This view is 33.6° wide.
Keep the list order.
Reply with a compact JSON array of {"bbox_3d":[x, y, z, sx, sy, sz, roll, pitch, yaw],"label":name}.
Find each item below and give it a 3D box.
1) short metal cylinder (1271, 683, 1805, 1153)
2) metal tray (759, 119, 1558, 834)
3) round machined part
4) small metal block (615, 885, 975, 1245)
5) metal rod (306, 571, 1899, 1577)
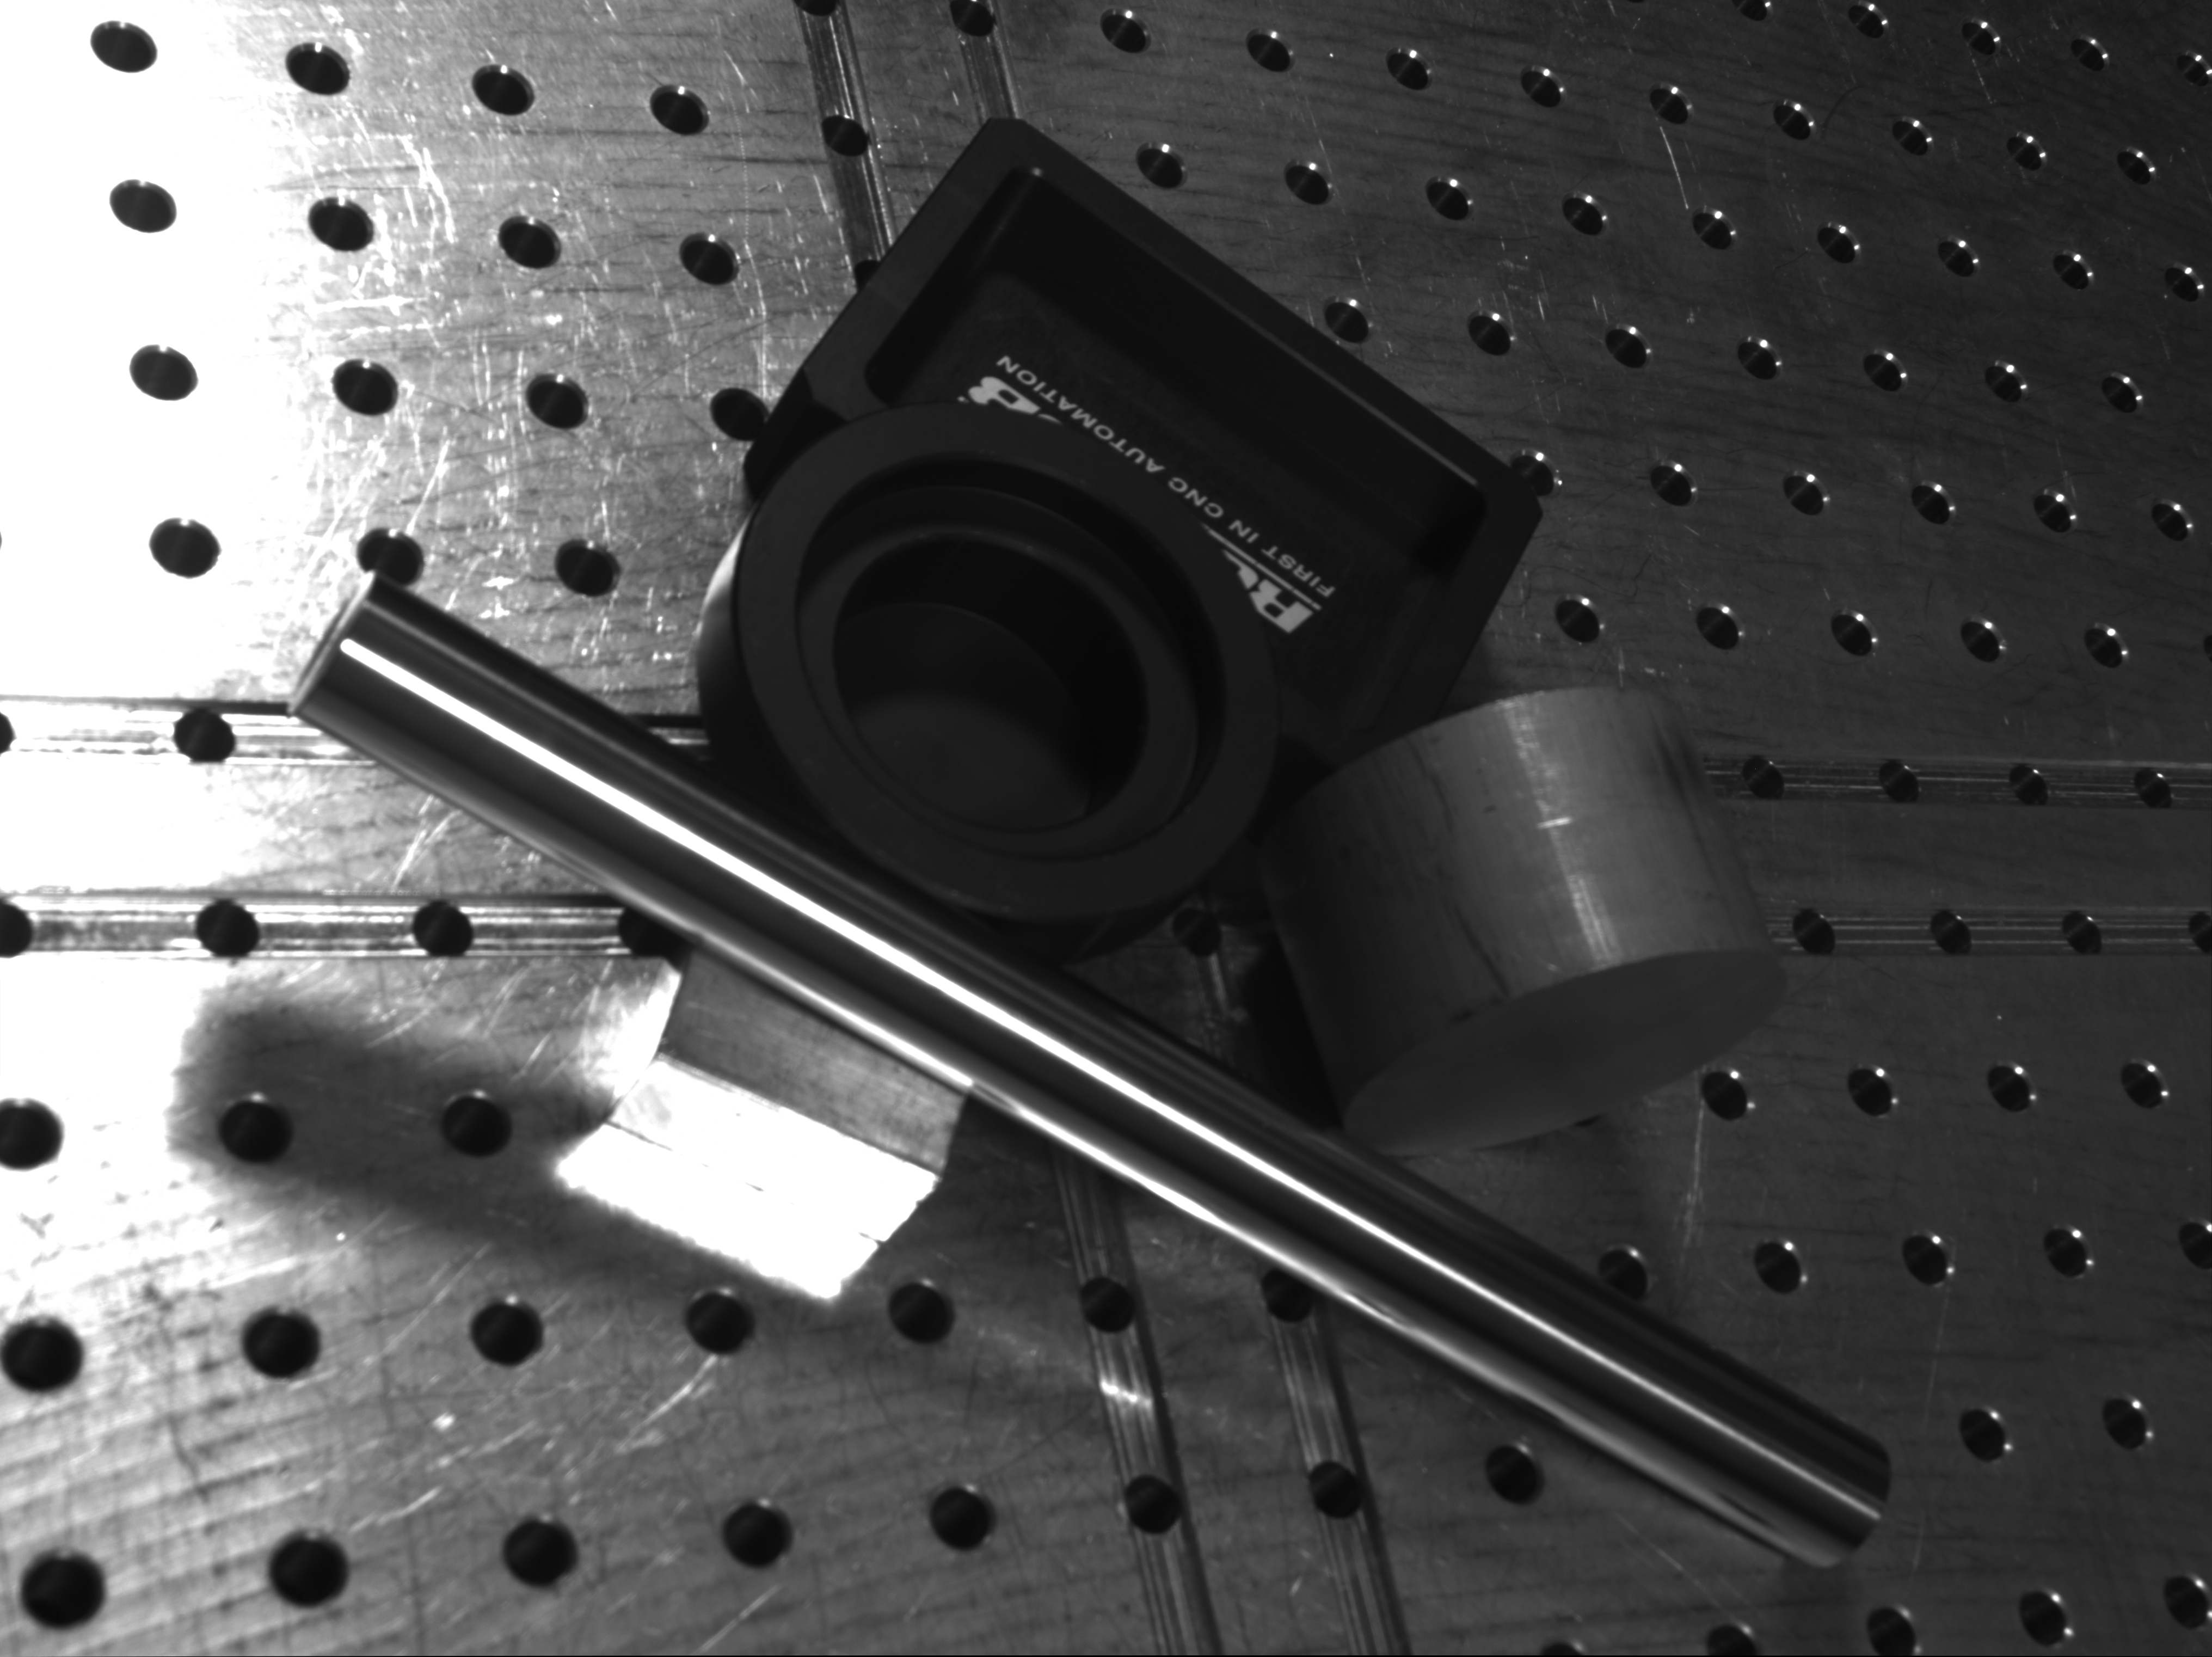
[{"bbox_3d":[0.074,0.017,0.636,0.080,0.080,0.050,-4,63,-30],"label":"short metal cylinder"},{"bbox_3d":[0.012,-0.064,0.684,0.130,0.030,0.090,35,51,-5],"label":"metal tray"},{"bbox_3d":[-0.020,-0.021,0.623,0.098,0.042,0.098,12,57,-19],"label":"round machined part"},{"bbox_3d":[-0.046,0.032,0.599,0.050,0.025,0.050,25,53,-13],"label":"small metal block"},{"bbox_3d":[0.009,0.046,0.593,0.301,0.025,0.025,31,51,-19],"label":"metal rod"}]
